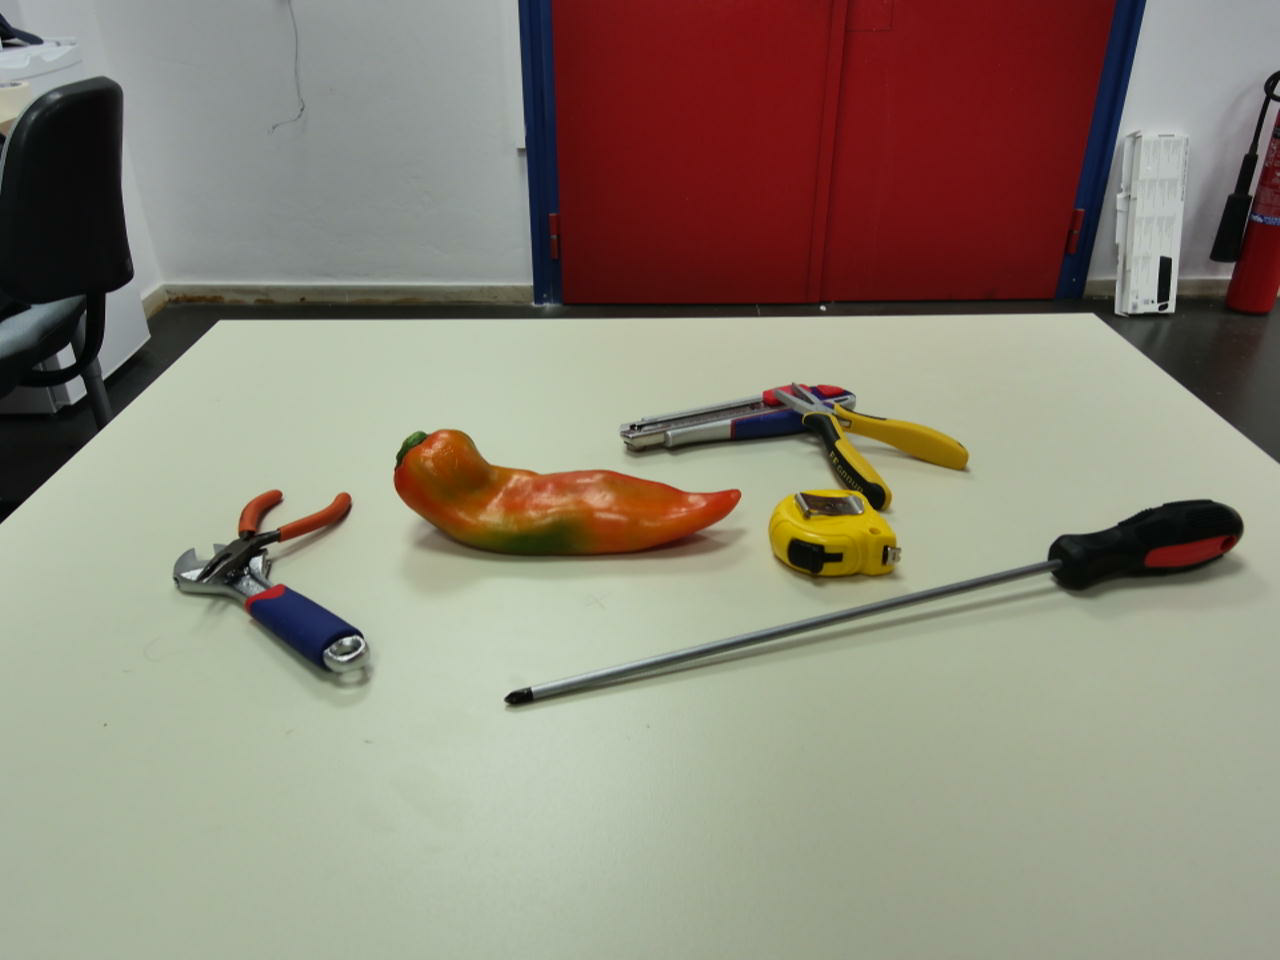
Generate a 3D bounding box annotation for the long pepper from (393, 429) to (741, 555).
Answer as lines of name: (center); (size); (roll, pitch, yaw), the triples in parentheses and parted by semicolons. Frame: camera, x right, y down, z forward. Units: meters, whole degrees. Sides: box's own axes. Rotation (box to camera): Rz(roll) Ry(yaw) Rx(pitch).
long pepper: (-0.042, 0.004, 0.574); (0.199, 0.065, 0.066); (2, 27, 4)
